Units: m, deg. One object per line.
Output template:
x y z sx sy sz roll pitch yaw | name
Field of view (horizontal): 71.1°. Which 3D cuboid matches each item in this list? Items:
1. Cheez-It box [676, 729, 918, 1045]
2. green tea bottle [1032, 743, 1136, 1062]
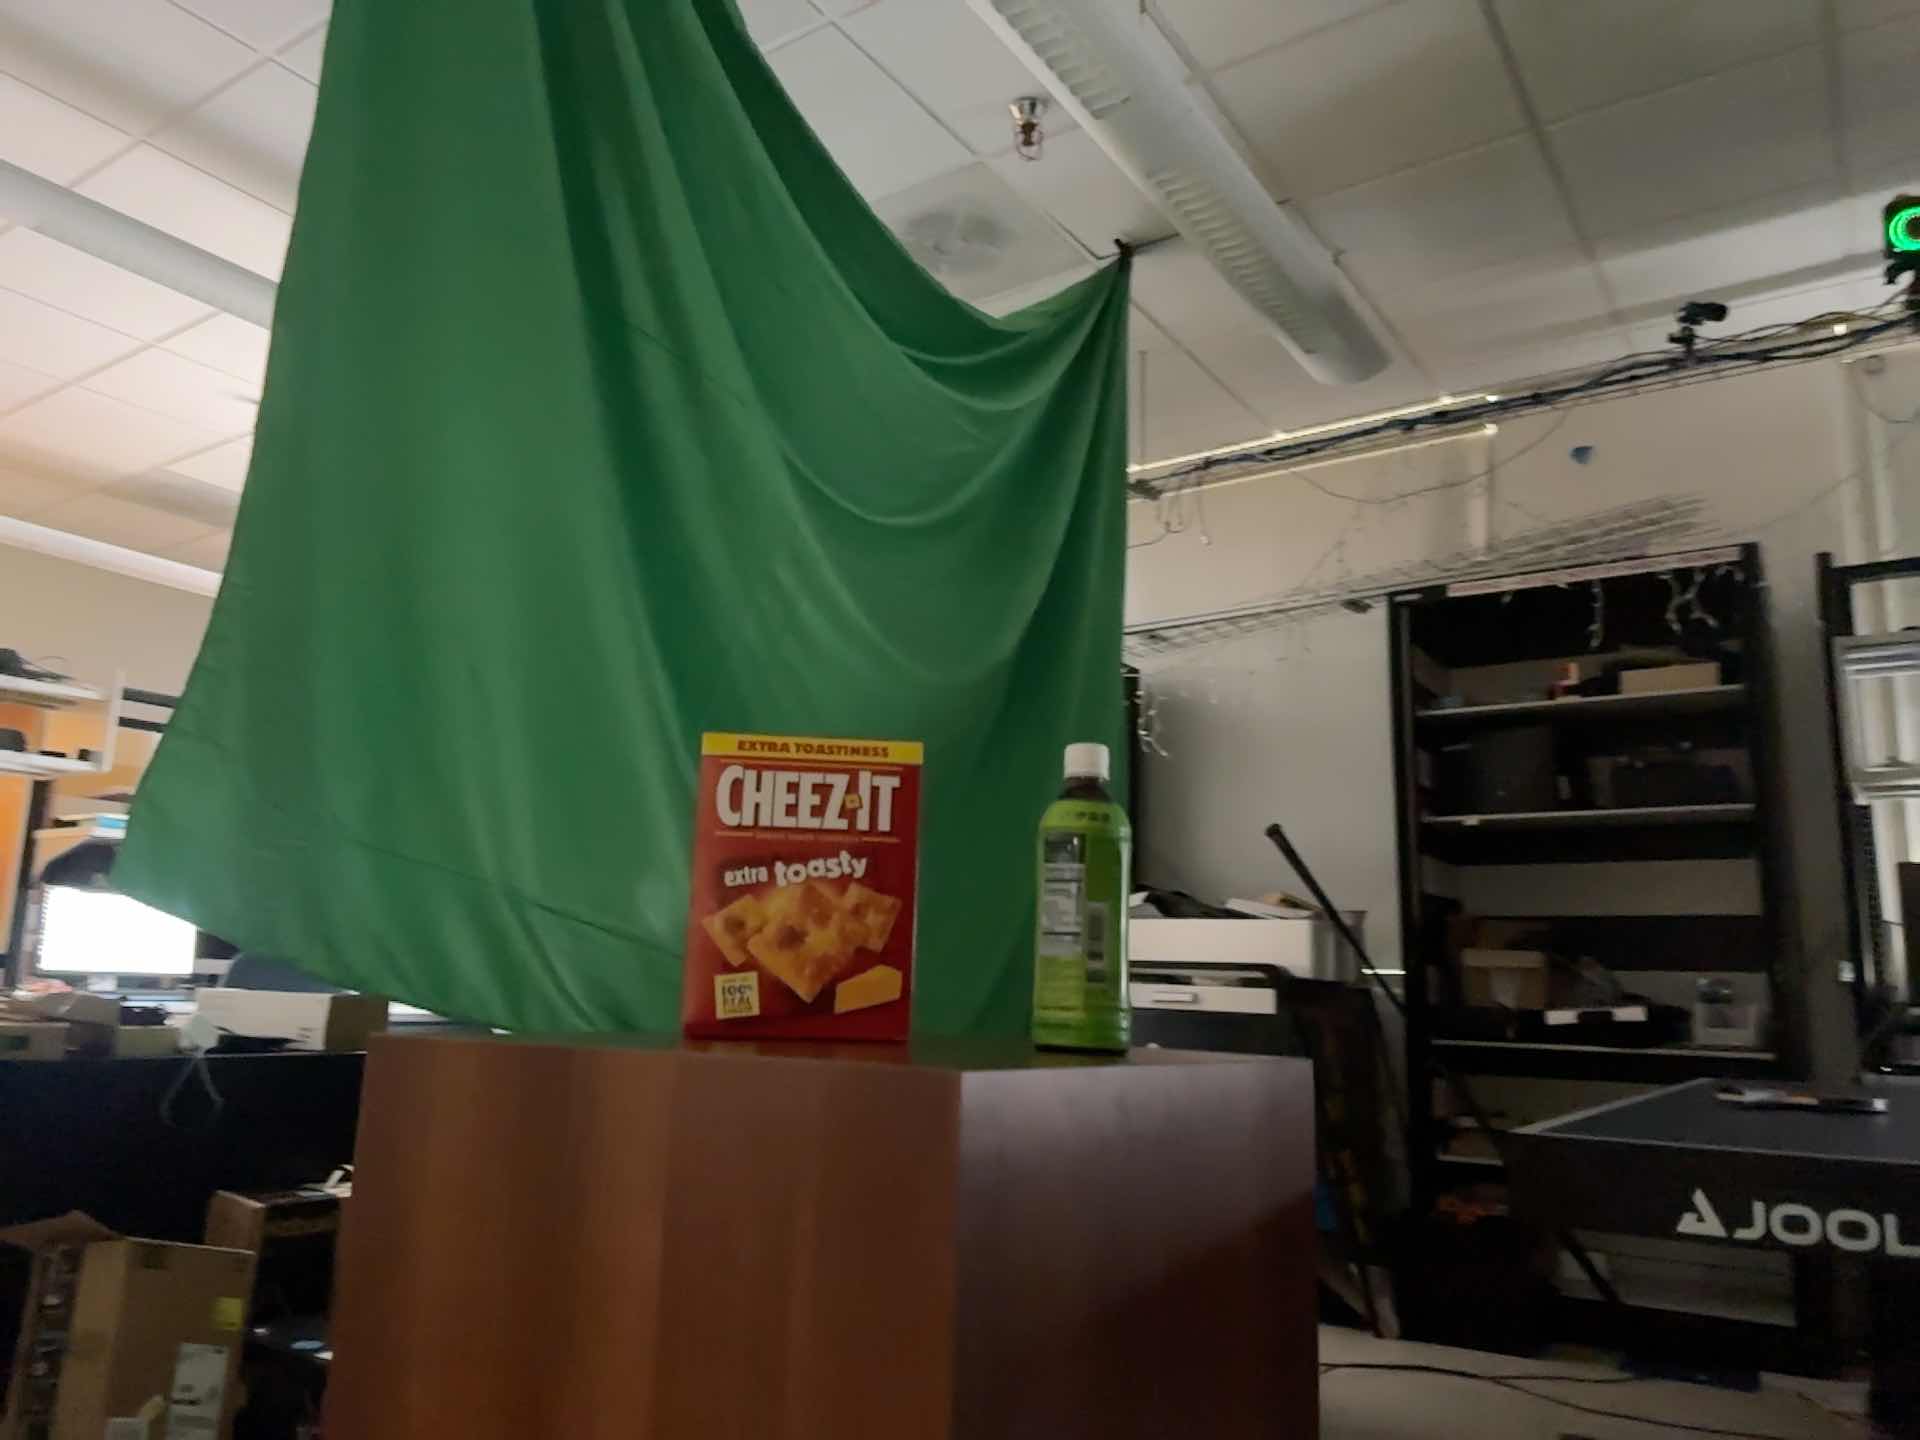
-0.116 0.120 0.977 0.159 0.214 0.062 2 -9 -8 | Cheez-It box
0.085 0.122 0.914 0.073 0.212 0.073 3 -9 0 | green tea bottle
